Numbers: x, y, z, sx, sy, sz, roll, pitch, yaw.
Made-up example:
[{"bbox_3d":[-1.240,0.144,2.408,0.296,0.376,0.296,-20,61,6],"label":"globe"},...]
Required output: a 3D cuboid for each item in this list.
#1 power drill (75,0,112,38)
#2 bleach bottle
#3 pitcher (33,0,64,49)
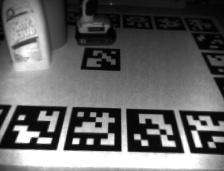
[{"bbox_3d":[-0.029,-0.213,0.547,0.185,0.187,0.057,0,49,-10],"label":"power drill"},{"bbox_3d":[-0.206,-0.149,0.434,0.103,0.252,0.067,-6,47,-7],"label":"bleach bottle"},{"bbox_3d":[-0.196,-0.208,0.519,0.190,0.243,0.132,-20,52,-20],"label":"pitcher"}]
